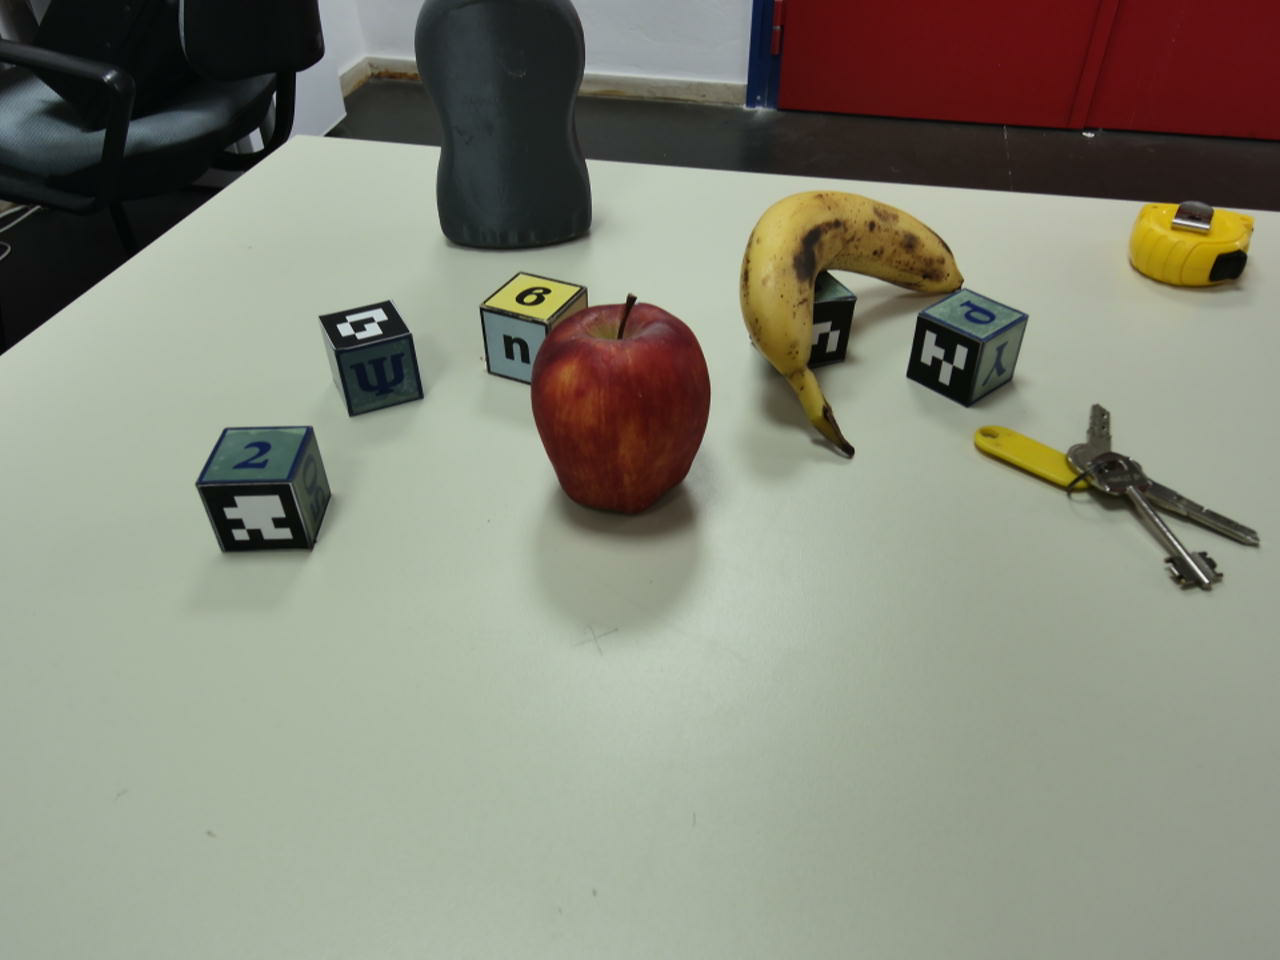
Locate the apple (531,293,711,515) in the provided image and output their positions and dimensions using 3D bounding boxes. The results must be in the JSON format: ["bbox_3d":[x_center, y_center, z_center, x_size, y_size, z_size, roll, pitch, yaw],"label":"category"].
[{"bbox_3d":[-0.009,-0.037,0.421,0.083,0.090,0.083,0,38,0],"label":"apple"}]
